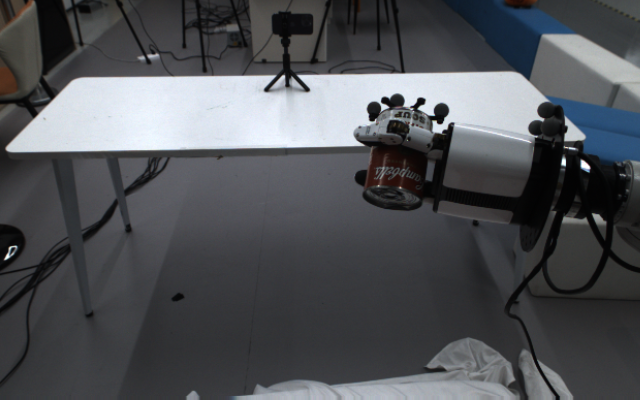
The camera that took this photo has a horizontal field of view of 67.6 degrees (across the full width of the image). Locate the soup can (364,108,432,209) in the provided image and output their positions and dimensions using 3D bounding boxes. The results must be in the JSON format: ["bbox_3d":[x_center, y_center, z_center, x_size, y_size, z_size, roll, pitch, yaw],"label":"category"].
[{"bbox_3d":[0.092,-0.047,0.553,0.067,0.067,0.101,9,70,10],"label":"soup can"}]
